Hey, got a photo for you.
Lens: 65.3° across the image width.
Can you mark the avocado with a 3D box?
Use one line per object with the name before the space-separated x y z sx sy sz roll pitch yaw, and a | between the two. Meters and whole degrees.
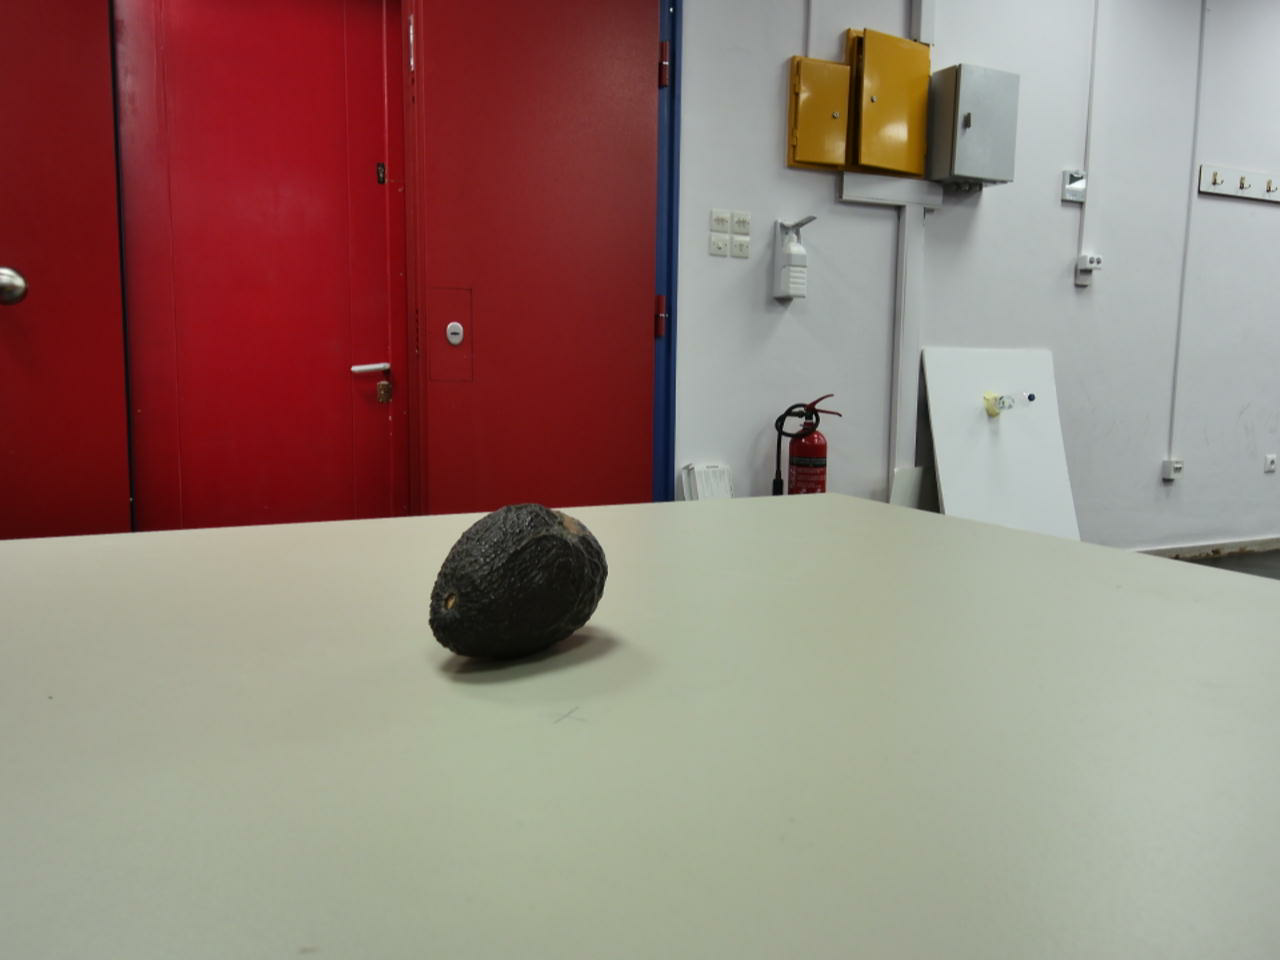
avocado | -0.053 0.042 0.419 0.062 0.062 0.092 4 6 40
